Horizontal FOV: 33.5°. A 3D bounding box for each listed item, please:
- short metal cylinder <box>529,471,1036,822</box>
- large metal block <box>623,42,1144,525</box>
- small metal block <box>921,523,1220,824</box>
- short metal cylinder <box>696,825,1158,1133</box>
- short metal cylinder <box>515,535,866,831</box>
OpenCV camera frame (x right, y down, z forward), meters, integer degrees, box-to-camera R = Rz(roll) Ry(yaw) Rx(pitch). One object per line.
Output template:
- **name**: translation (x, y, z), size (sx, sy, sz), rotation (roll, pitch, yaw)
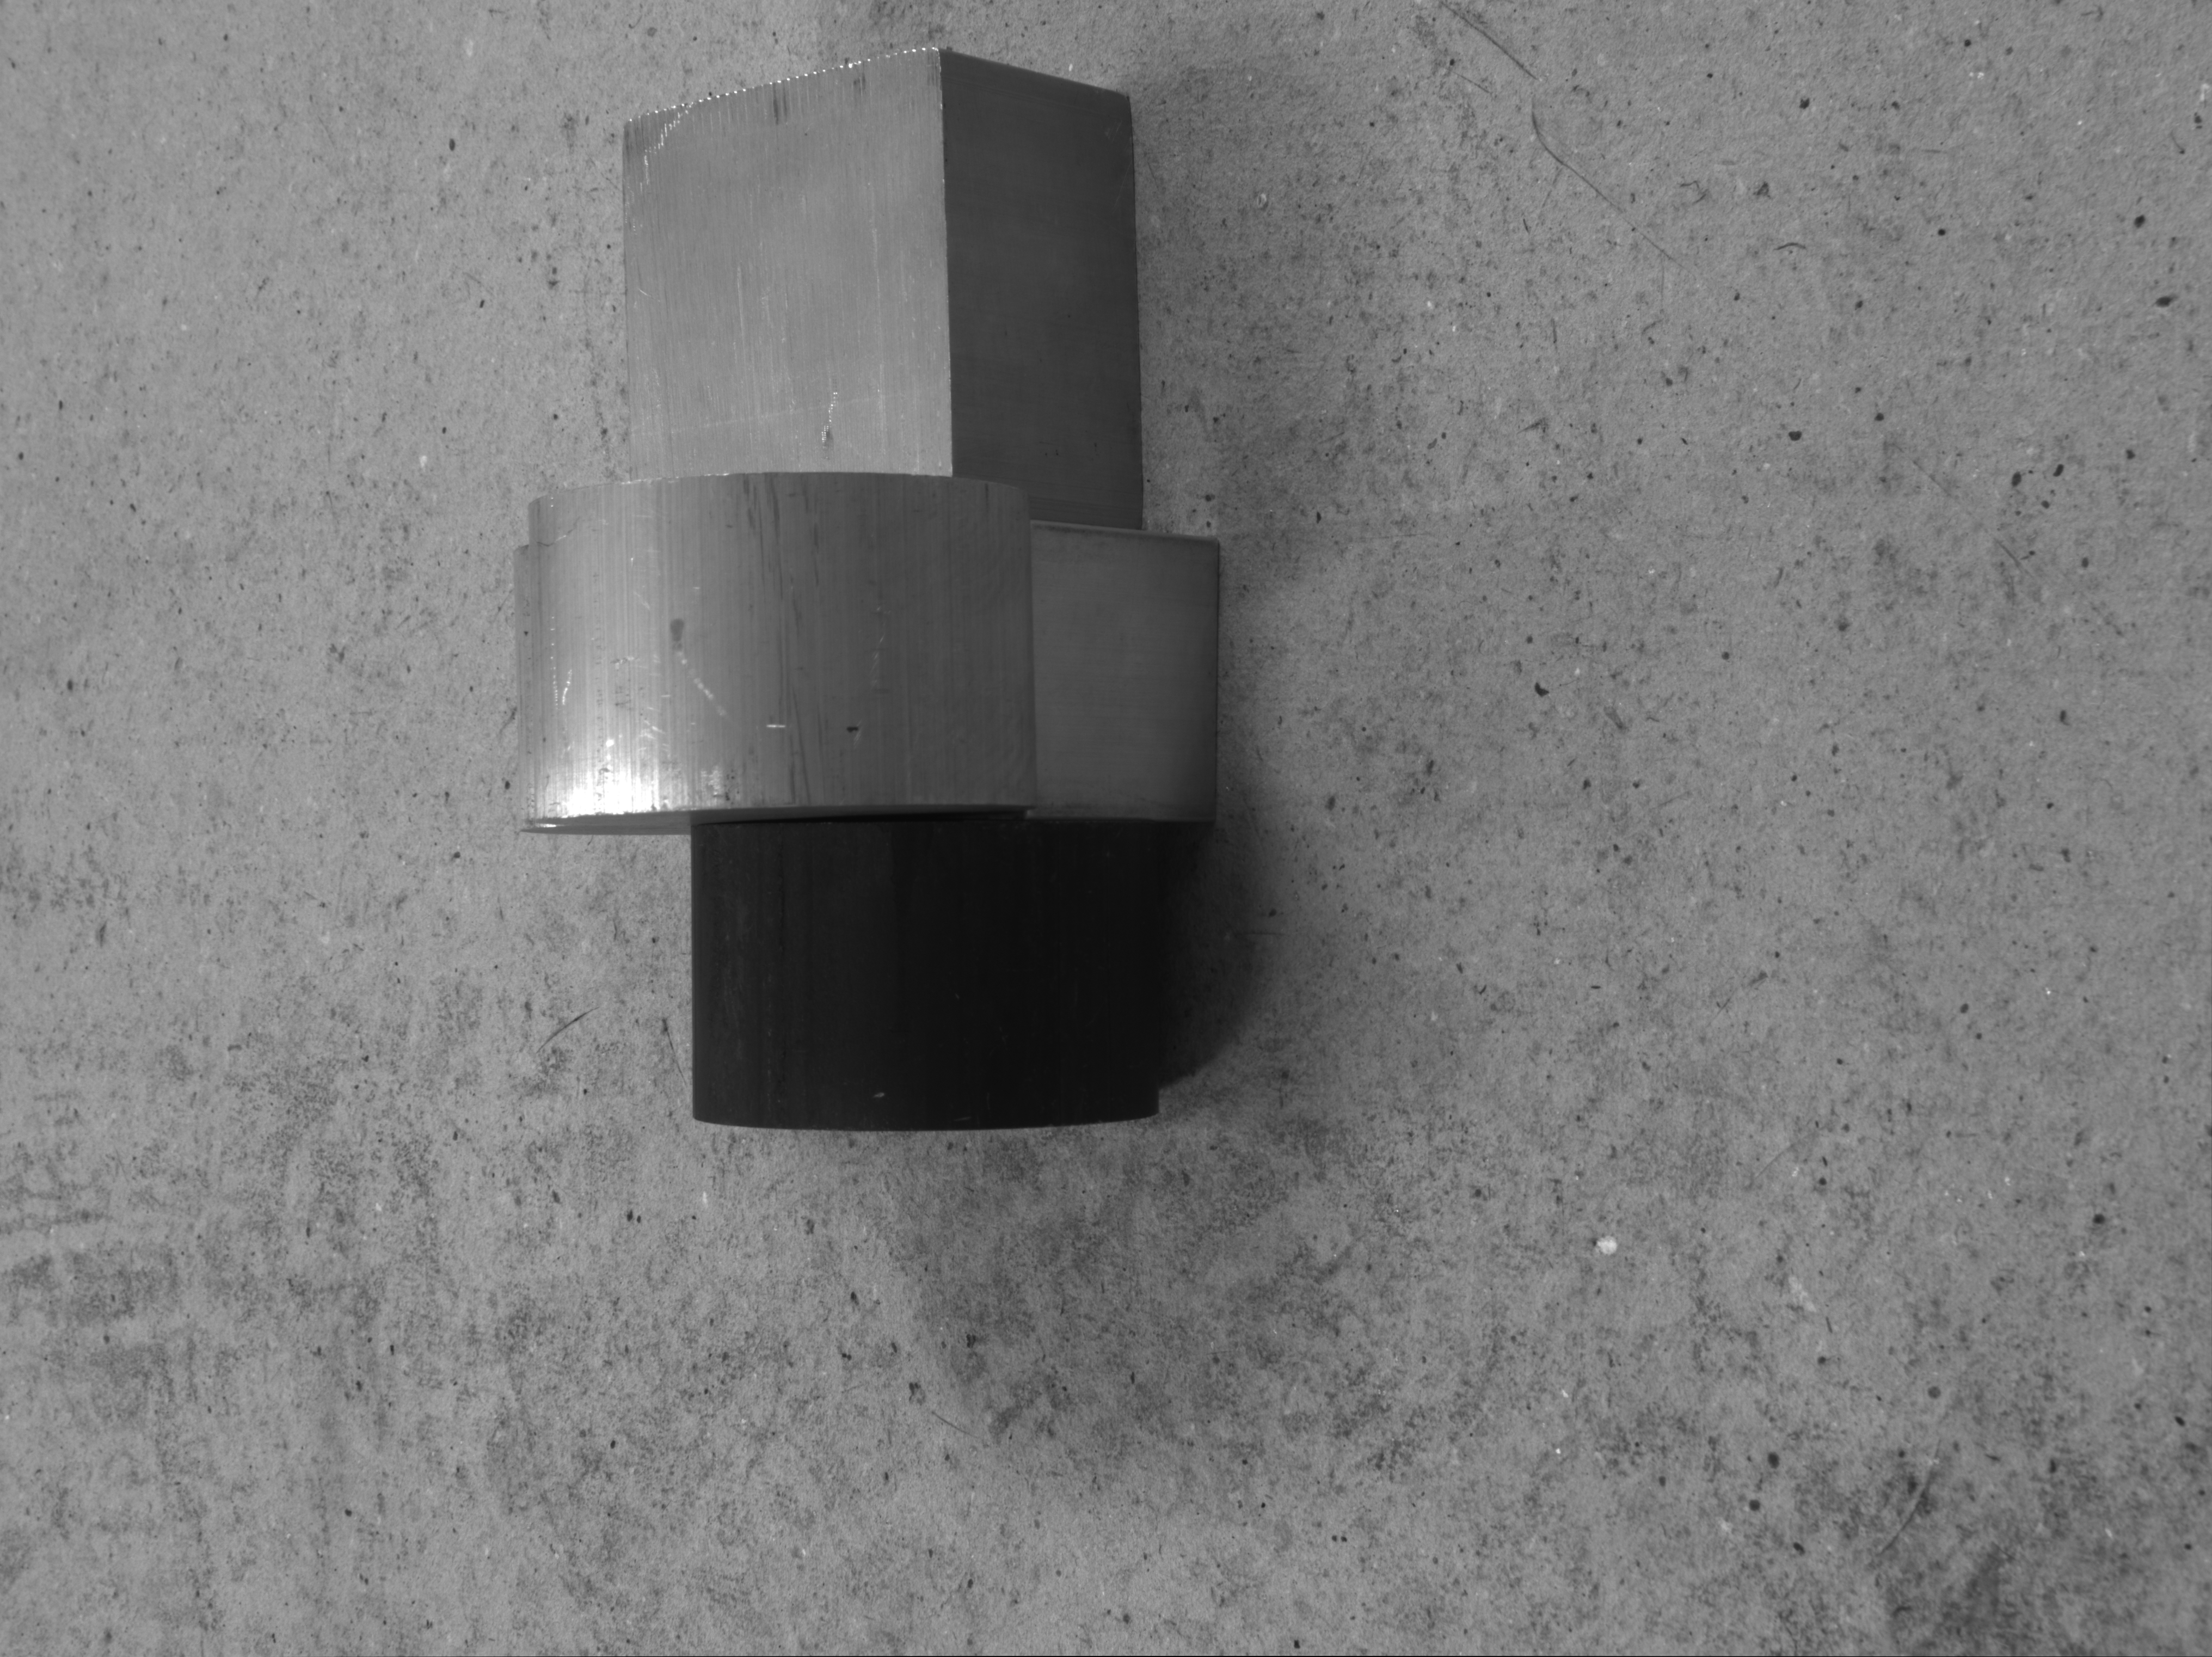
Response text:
- **short metal cylinder**: translation (-0.052, -0.027, 0.589), size (0.080, 0.080, 0.050), rotation (-3, 88, 40)
- **large metal block**: translation (-0.041, -0.092, 0.665), size (0.080, 0.050, 0.080), rotation (-3, 88, 40)
- **small metal block**: translation (-0.006, -0.026, 0.637), size (0.025, 0.050, 0.050), rotation (1, 91, 40)
- **short metal cylinder**: translation (-0.031, 0.025, 0.637), size (0.080, 0.080, 0.050), rotation (-1, 90, 40)
- **short metal cylinder**: translation (-0.066, -0.025, 0.666), size (0.080, 0.080, 0.050), rotation (-3, 88, 40)
